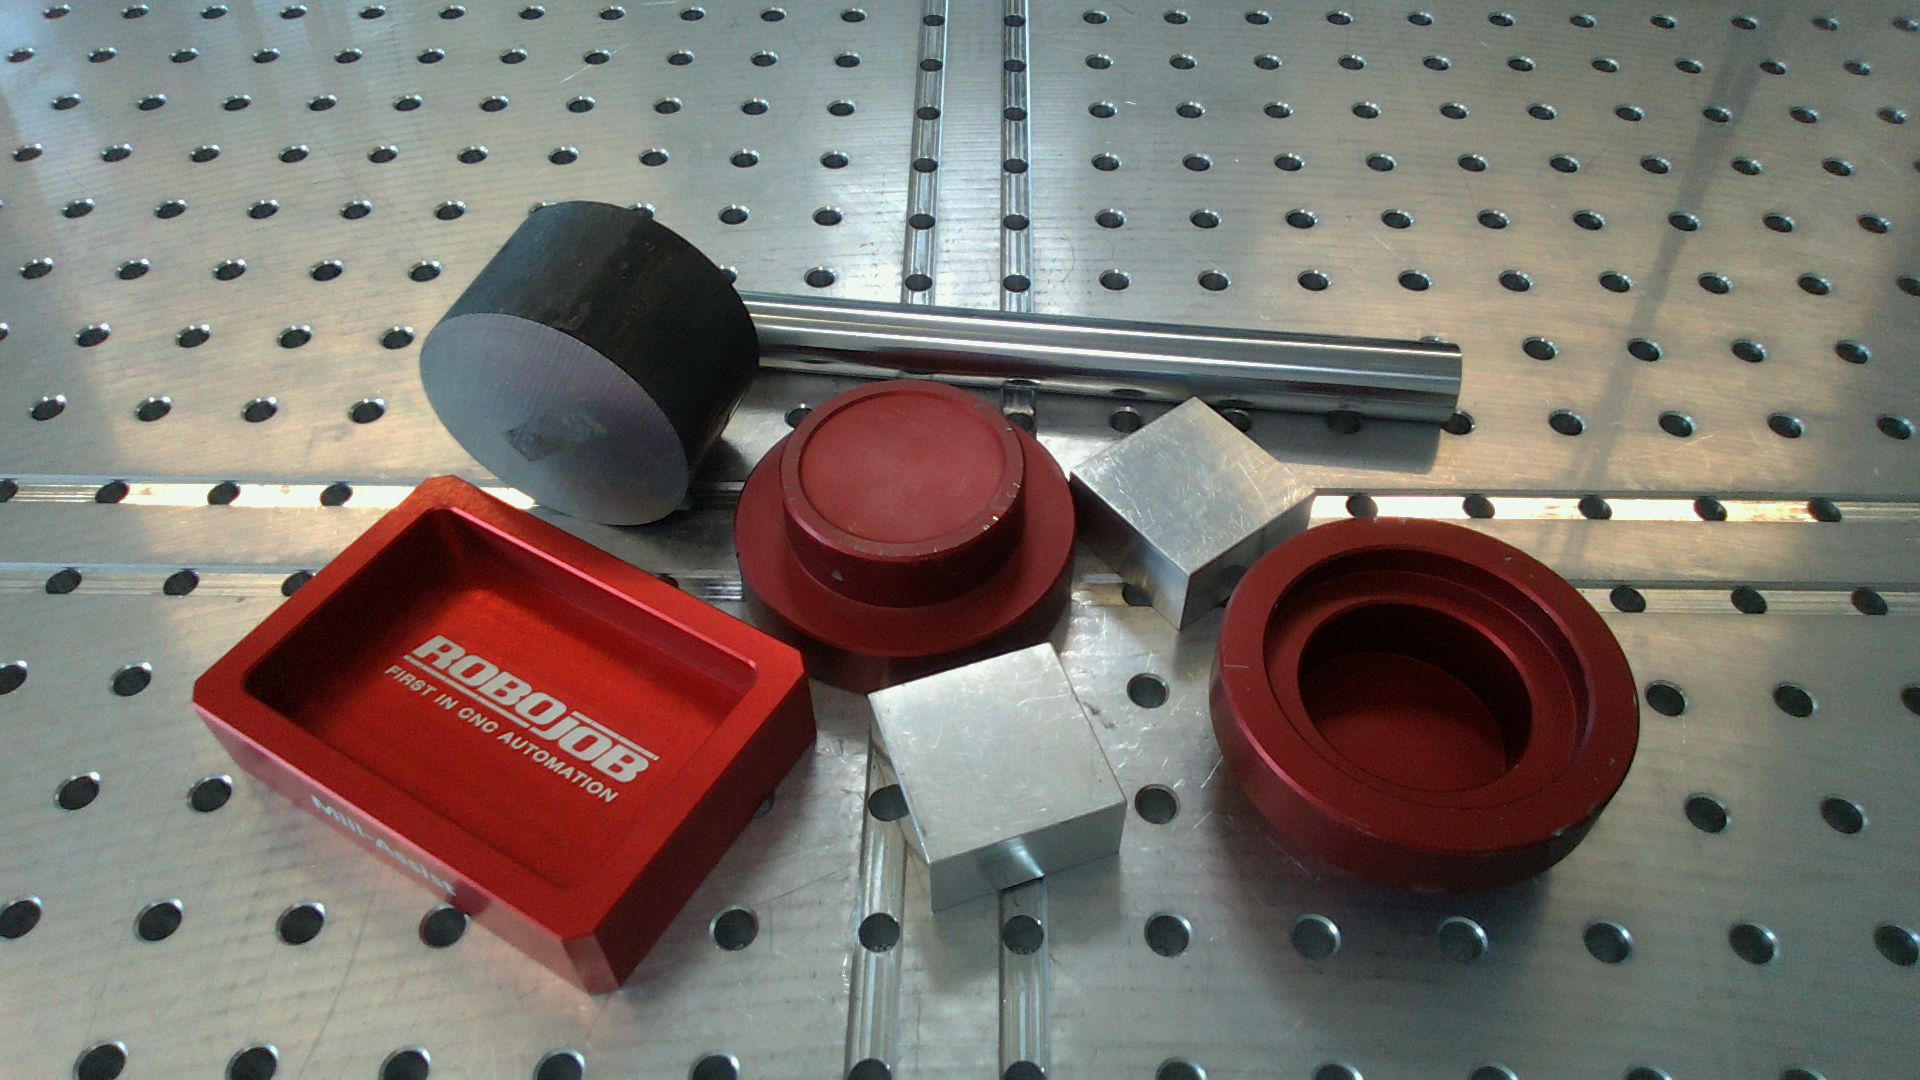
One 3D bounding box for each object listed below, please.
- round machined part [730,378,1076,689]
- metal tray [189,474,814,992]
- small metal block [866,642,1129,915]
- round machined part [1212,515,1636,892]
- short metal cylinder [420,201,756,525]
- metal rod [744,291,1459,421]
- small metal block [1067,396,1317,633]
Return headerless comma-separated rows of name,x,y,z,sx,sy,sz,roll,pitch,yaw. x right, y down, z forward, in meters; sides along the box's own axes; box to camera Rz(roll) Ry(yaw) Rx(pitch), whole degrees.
round machined part,-0.016,-0.008,0.390,0.098,0.042,0.098,0,47,0
metal tray,-0.115,0.043,0.354,0.130,0.030,0.090,24,54,20
small metal block,0.008,0.059,0.345,0.050,0.025,0.050,-15,51,-12
round machined part,0.112,0.044,0.347,0.098,0.042,0.098,0,50,0
short metal cylinder,-0.107,-0.050,0.401,0.080,0.080,0.050,14,51,11
metal rod,0.006,-0.063,0.447,0.300,0.025,0.025,5,50,4
small metal block,0.066,-0.009,0.402,0.050,0.025,0.050,-31,56,-23
